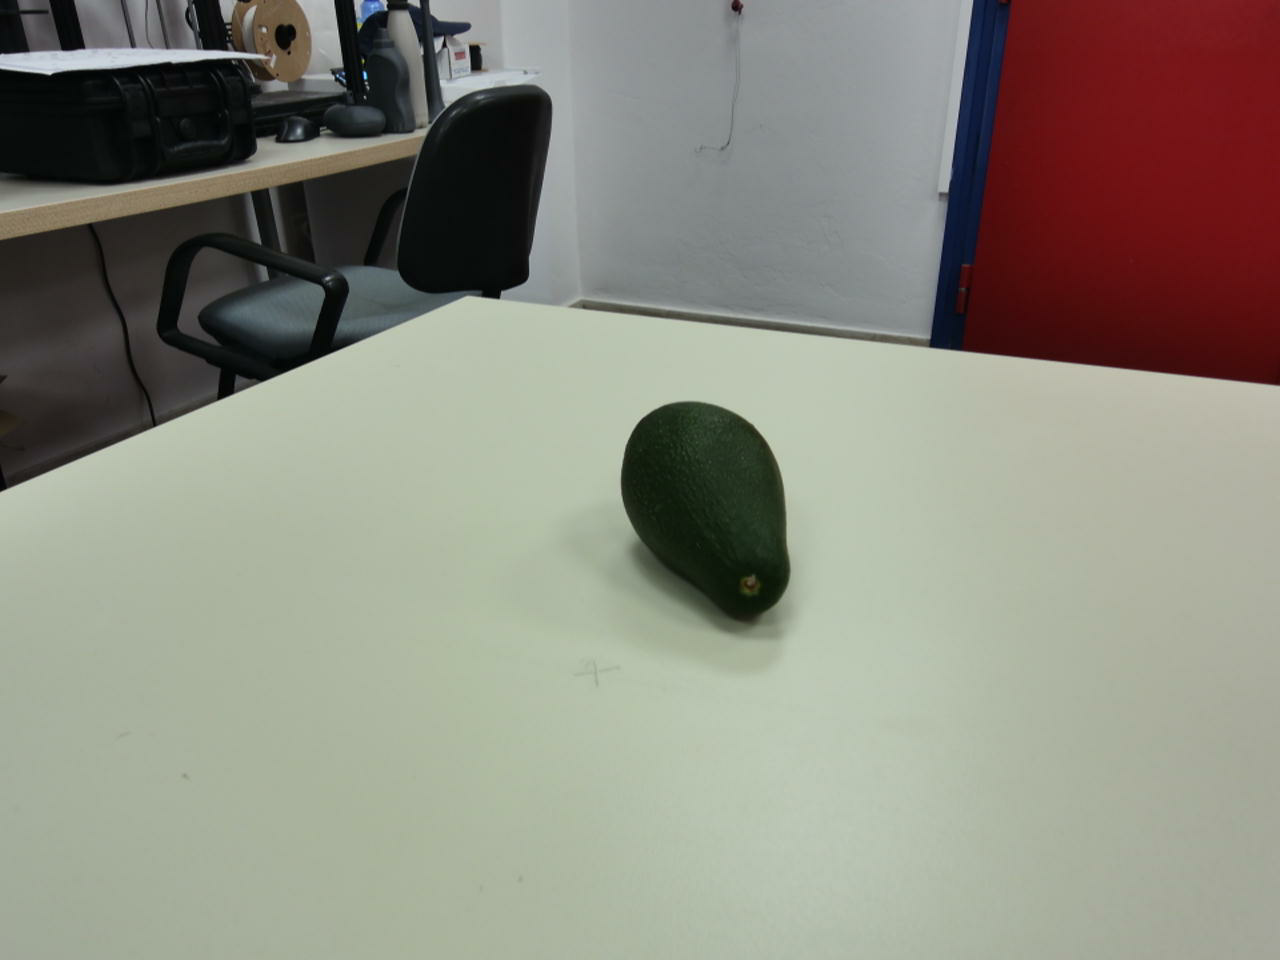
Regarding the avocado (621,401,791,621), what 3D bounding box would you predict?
[{"bbox_3d":[0.027,0.009,0.428,0.072,0.071,0.109,2,23,3],"label":"avocado"}]
